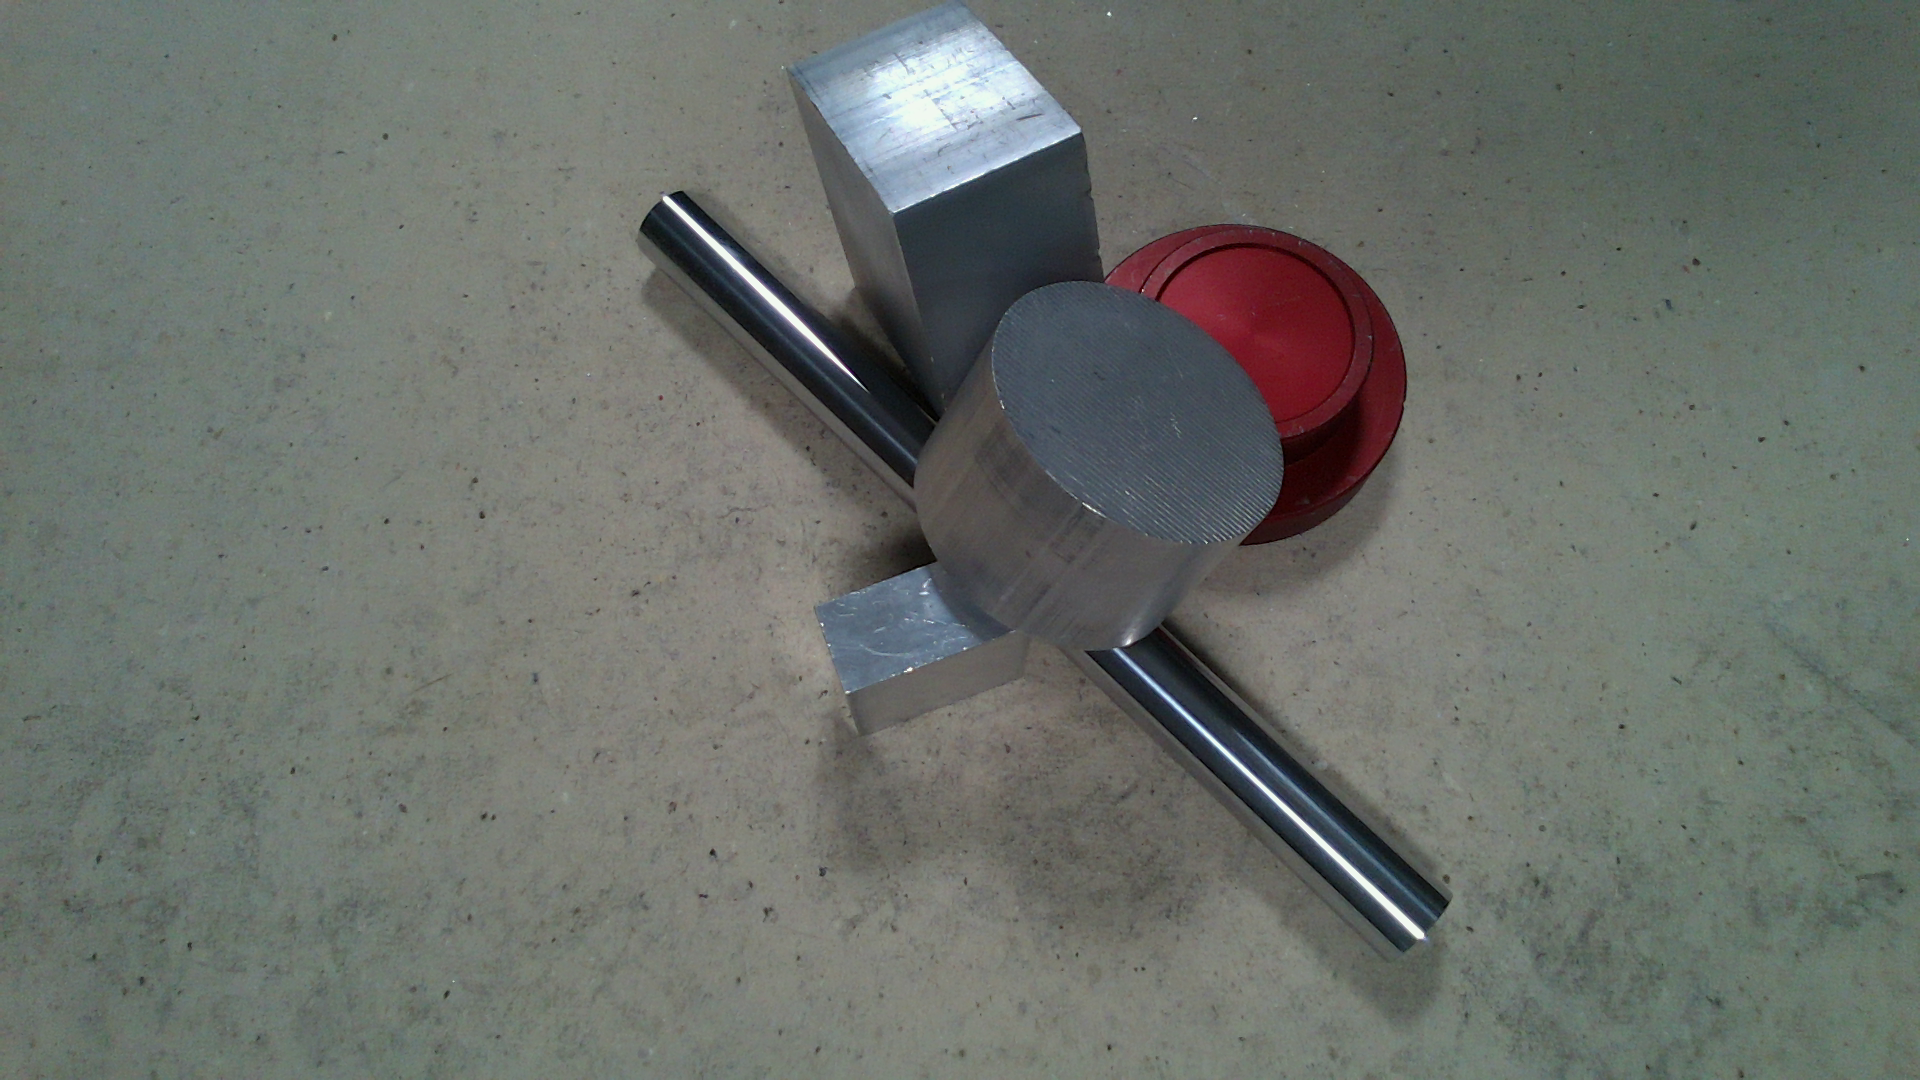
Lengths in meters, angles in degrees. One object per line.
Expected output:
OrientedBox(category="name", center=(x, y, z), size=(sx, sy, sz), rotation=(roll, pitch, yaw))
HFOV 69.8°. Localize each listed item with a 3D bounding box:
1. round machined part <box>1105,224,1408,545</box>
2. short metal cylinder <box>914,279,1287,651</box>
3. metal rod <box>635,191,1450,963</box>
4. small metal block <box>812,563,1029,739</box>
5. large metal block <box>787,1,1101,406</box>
OrientedBox(category="round machined part", center=(0.083, -0.051, 0.404), size=(0.098, 0.042, 0.098), rotation=(0, 70, 0))
OrientedBox(category="short metal cylinder", center=(0.034, -0.019, 0.349), size=(0.080, 0.050, 0.080), rotation=(14, 51, -18))
OrientedBox(category="metal rod", center=(0.014, 0.001, 0.395), size=(0.025, 0.025, 0.300), rotation=(-43, 76, -14))
OrientedBox(category="small metal block", center=(-0.010, 0.028, 0.372), size=(0.050, 0.050, 0.025), rotation=(-20, 70, -8))
OrientedBox(category="large metal block", center=(-0.002, -0.090, 0.387), size=(0.050, 0.080, 0.080), rotation=(-26, 50, -7))
